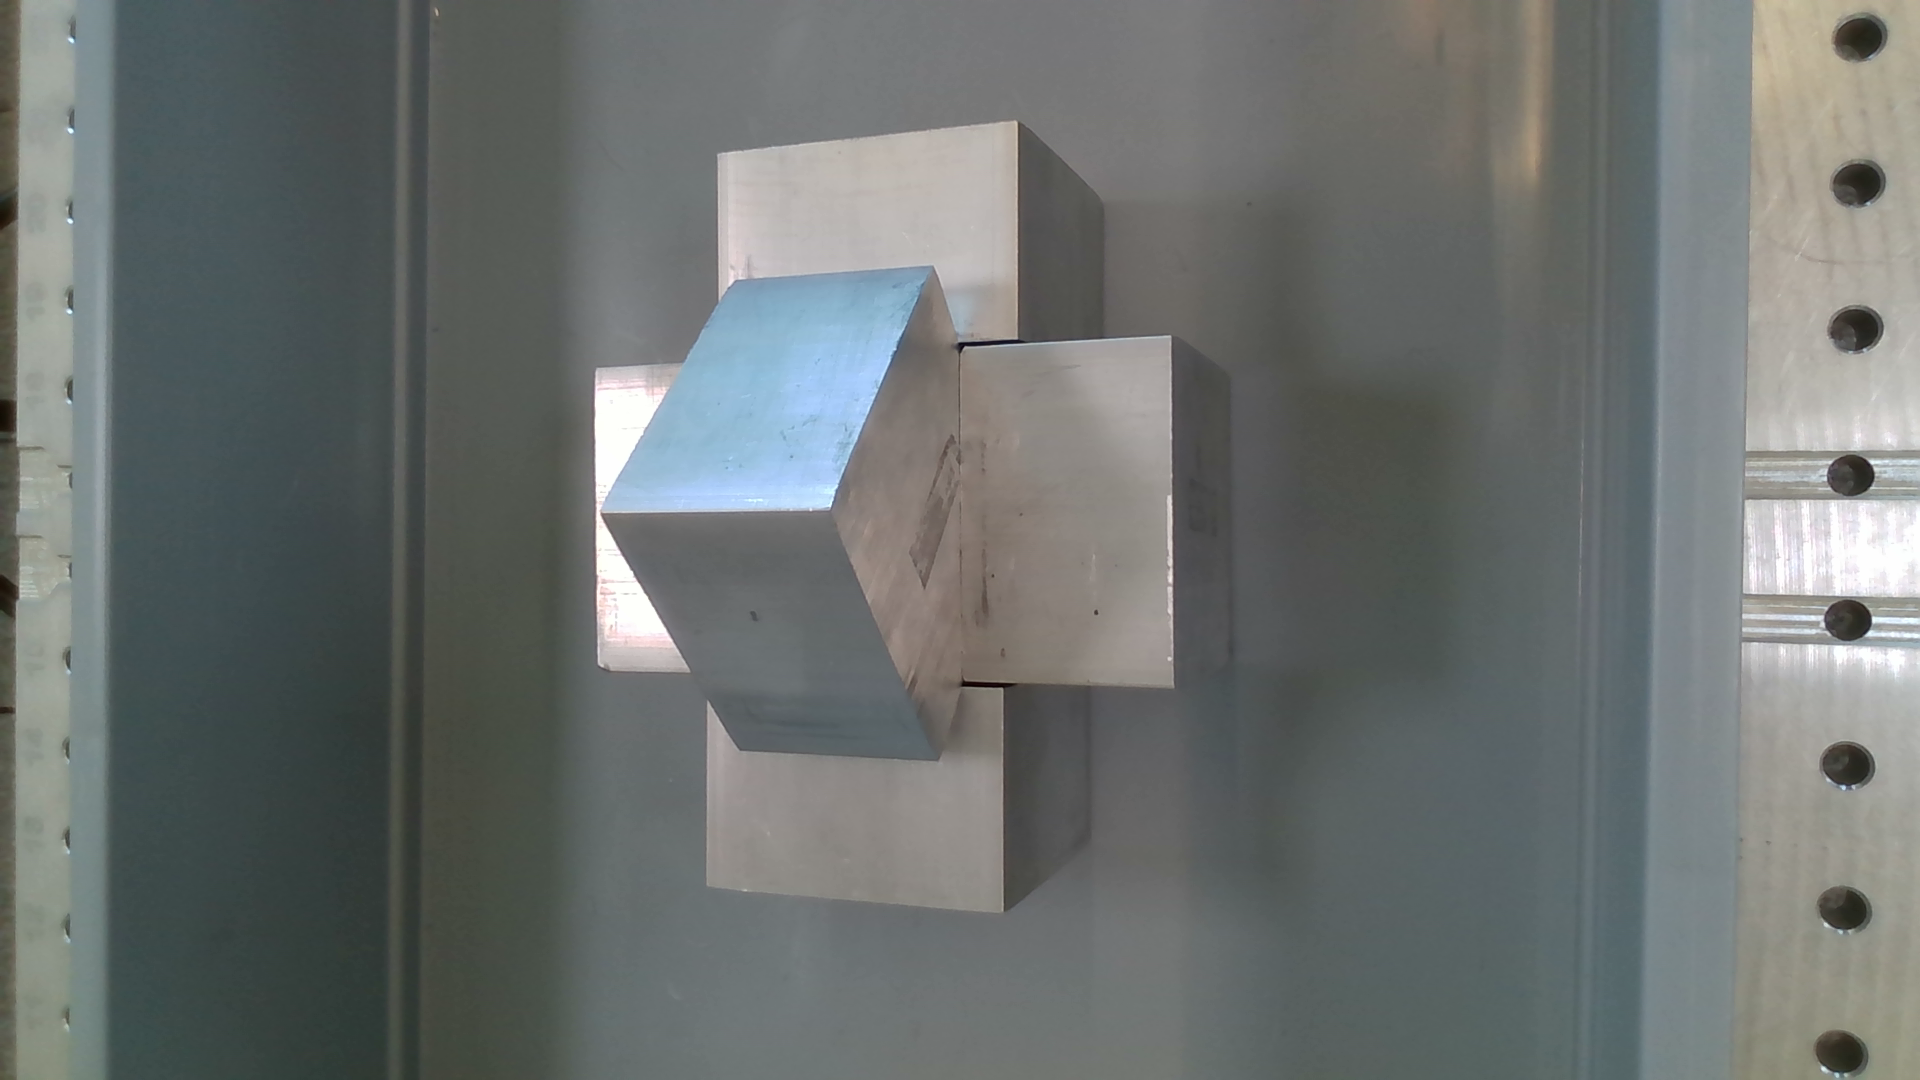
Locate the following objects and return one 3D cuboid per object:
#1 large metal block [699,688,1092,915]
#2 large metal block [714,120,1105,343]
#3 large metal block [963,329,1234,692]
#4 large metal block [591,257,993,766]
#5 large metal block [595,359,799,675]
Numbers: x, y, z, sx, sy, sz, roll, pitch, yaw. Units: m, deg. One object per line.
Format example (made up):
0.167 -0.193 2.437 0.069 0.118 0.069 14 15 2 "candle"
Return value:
-0.014 0.061 0.367 0.080 0.080 0.050 0 91 20 "large metal block"
-0.010 -0.071 0.368 0.080 0.080 0.050 0 90 20 "large metal block"
0.038 -0.006 0.350 0.050 0.080 0.080 0 90 20 "large metal block"
-0.029 -0.006 0.314 0.050 0.080 0.080 0 135 20 "large metal block"
-0.057 -0.006 0.385 0.050 0.080 0.080 0 90 20 "large metal block"
